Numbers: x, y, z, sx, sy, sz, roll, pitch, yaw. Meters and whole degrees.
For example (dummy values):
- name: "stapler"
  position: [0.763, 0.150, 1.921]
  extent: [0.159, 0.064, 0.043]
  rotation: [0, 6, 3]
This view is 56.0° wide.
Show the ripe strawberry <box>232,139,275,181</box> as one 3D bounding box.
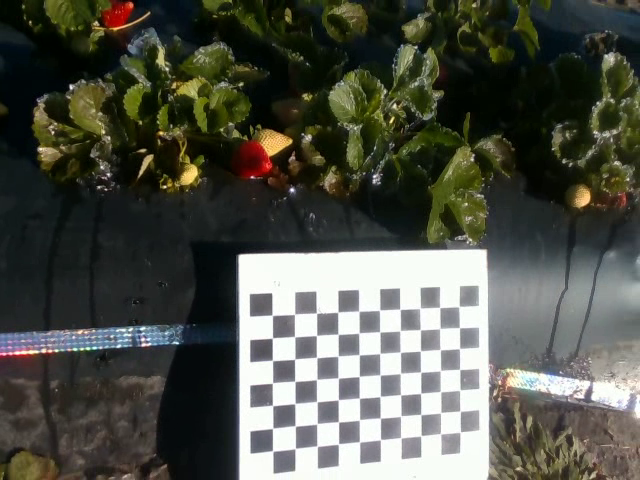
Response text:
- name: "ripe strawberry"
  position: [-0.063, -0.076, 0.561]
  extent: [0.040, 0.042, 0.053]
  rotation: [-39, 36, -17]
